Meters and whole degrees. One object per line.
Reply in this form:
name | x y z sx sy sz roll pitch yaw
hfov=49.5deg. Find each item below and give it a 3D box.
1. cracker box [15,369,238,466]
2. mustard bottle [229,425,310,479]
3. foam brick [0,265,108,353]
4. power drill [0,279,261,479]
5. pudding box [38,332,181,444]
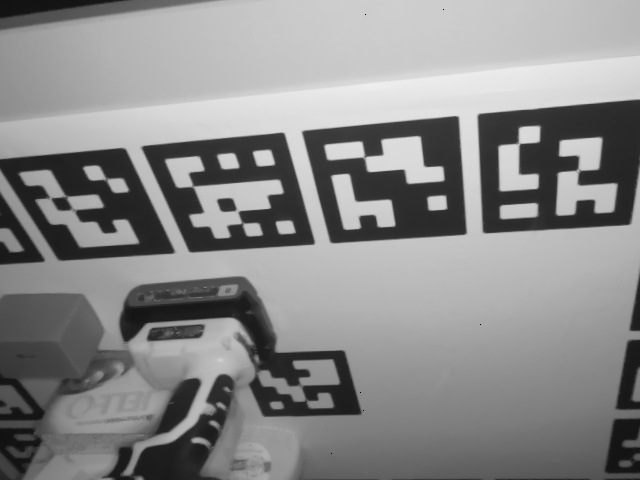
cracker box | -0.169 0.195 0.577 0.163 0.215 0.071 -8 129 10
mustard bottle | -0.064 0.262 0.628 0.096 0.193 0.058 6 128 3
foam brick | -0.230 0.058 0.585 0.078 0.052 0.052 -3 127 9
power drill | -0.124 0.115 0.487 0.183 0.189 0.057 -5 131 12
pudding box | -0.165 0.123 0.588 0.113 0.091 0.038 -6 129 8
